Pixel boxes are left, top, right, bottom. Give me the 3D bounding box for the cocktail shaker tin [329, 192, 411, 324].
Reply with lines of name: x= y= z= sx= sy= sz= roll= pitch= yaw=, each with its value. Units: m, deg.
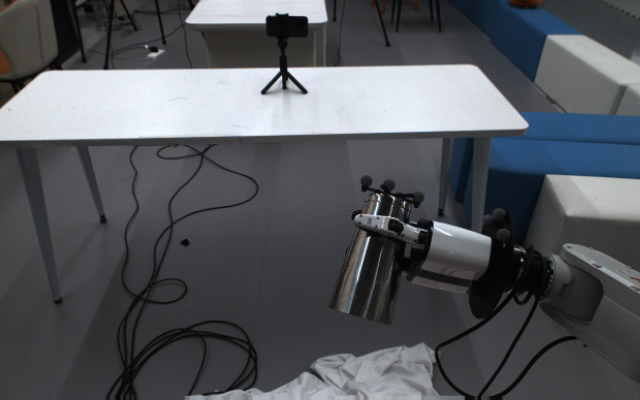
cocktail shaker tin: x=0.081 y=0.079 z=0.687 sx=0.093 sy=0.093 sz=0.170 roll=13 pitch=79 yaw=15
